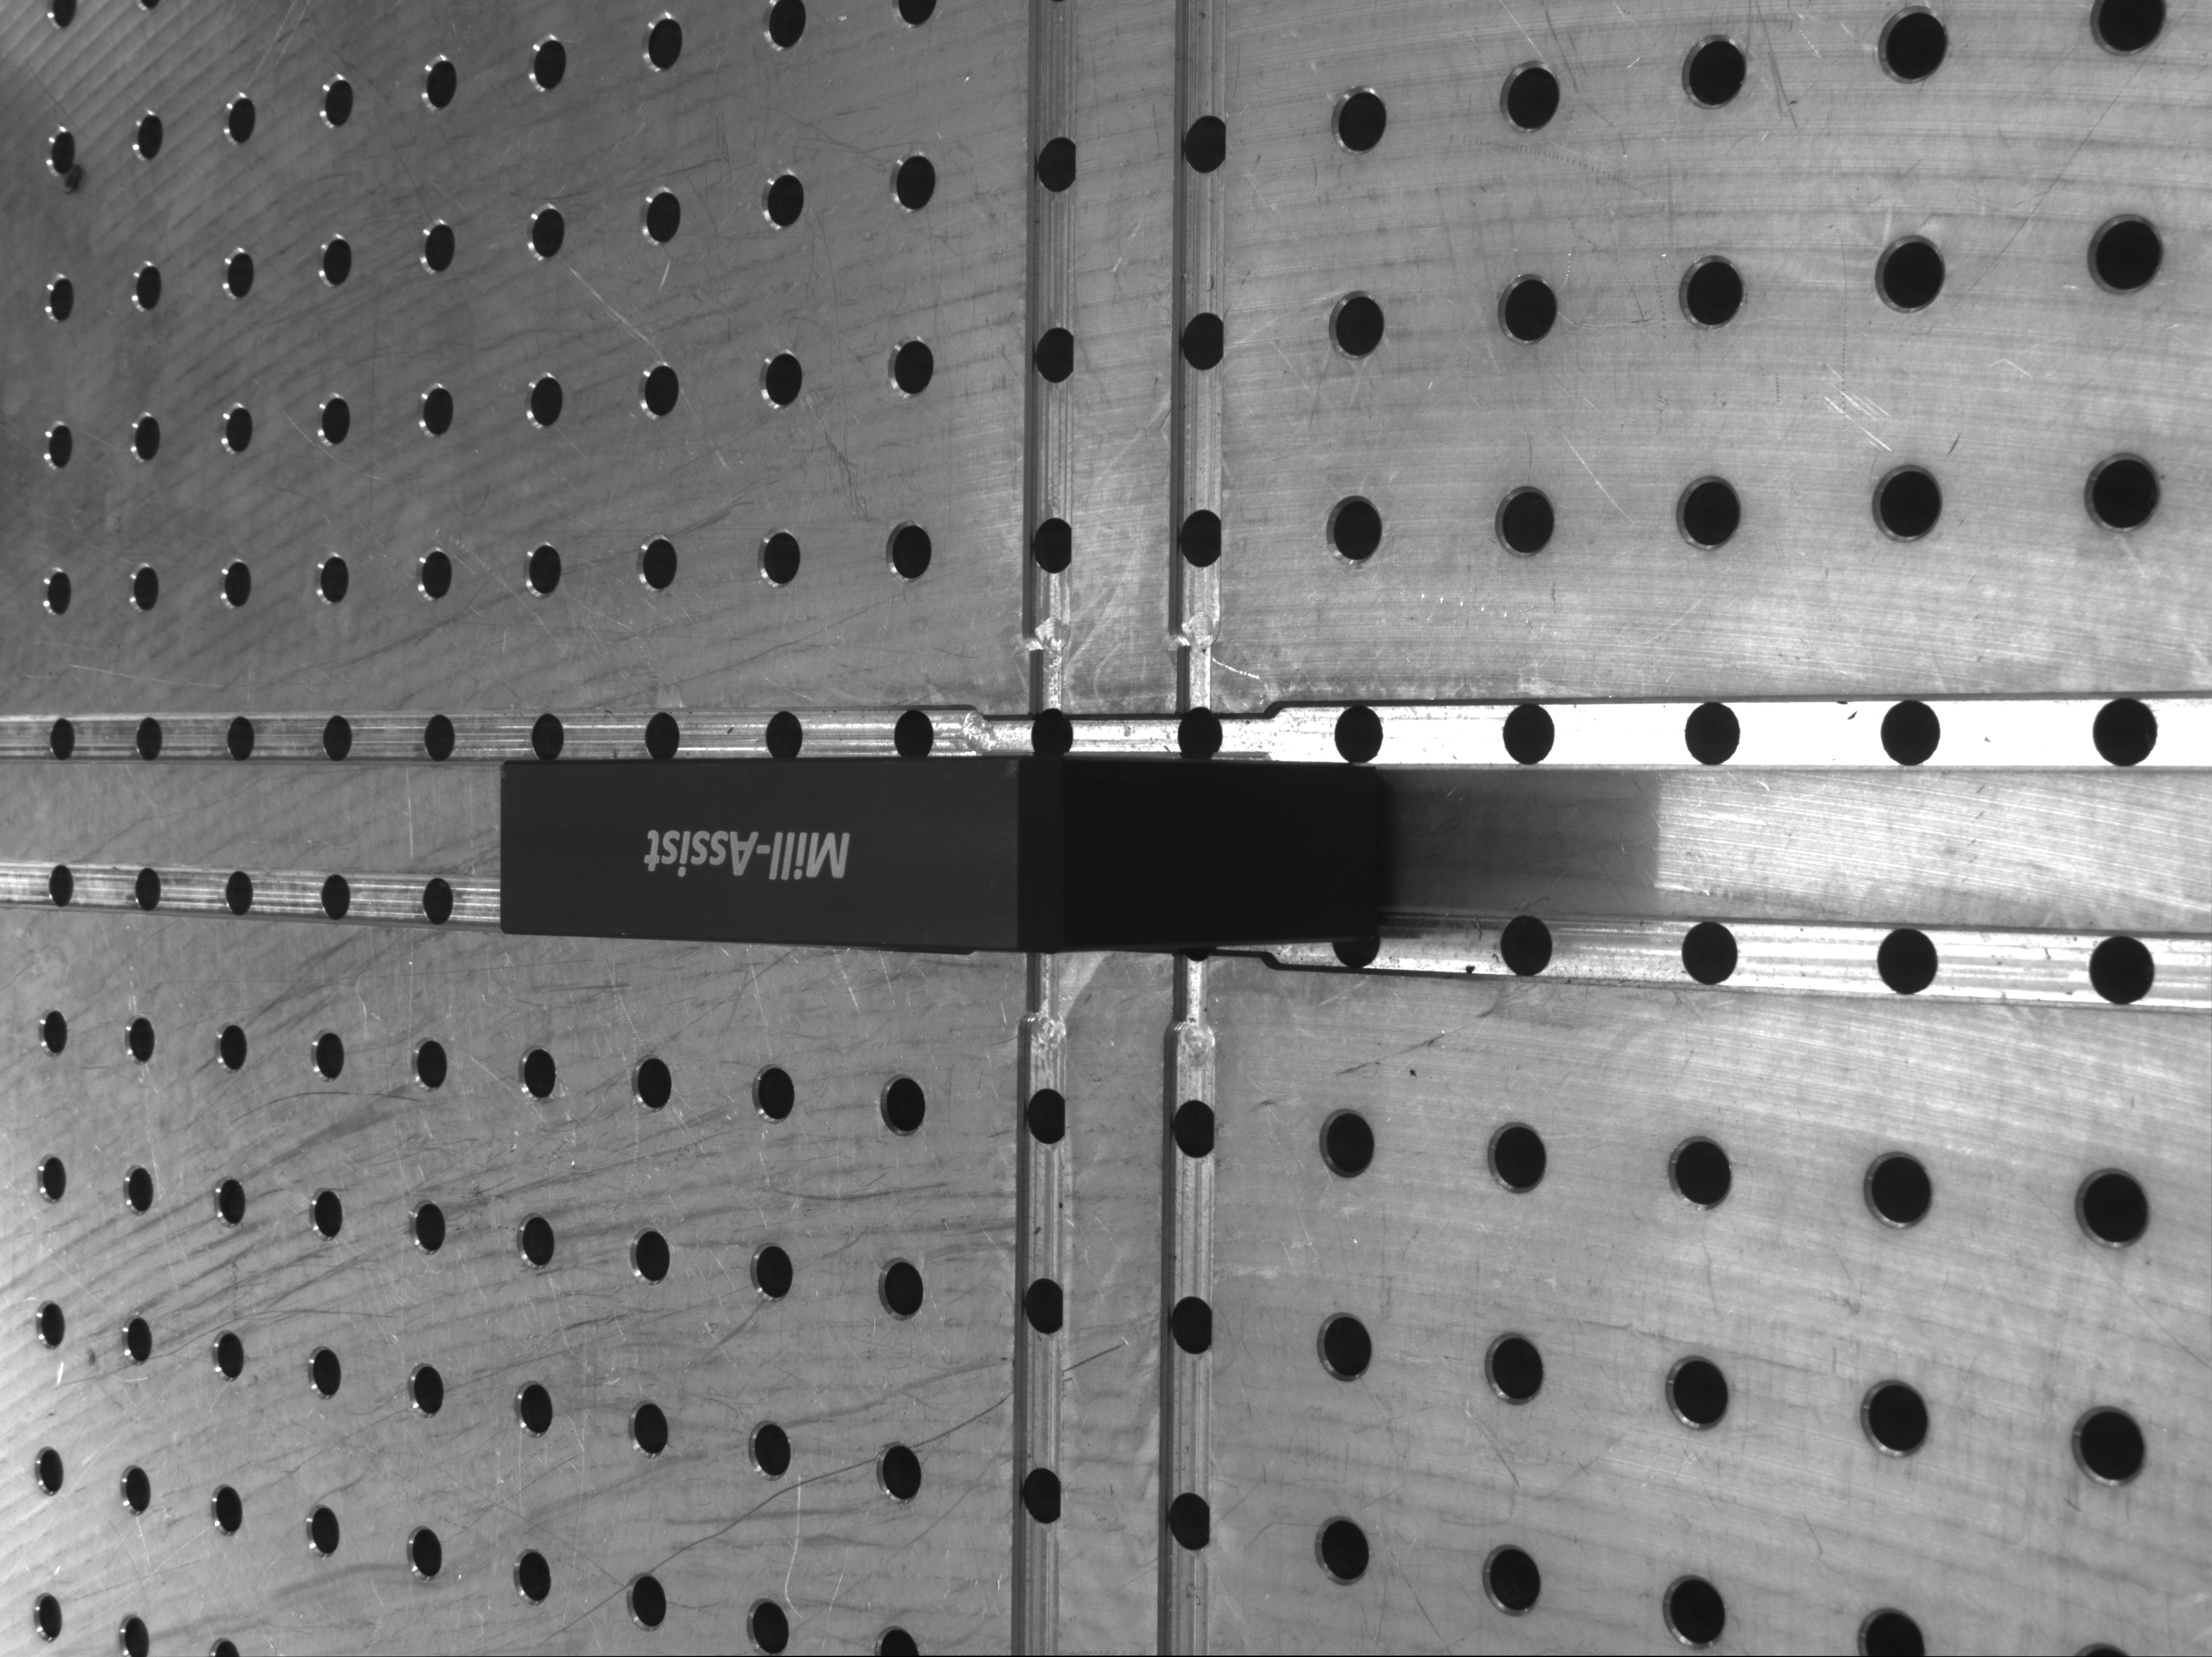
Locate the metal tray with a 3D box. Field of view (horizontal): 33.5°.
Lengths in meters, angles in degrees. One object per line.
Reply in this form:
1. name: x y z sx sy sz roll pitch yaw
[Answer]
1. metal tray: -0.030 0.004 0.631 0.130 0.090 0.030 0 90 40
